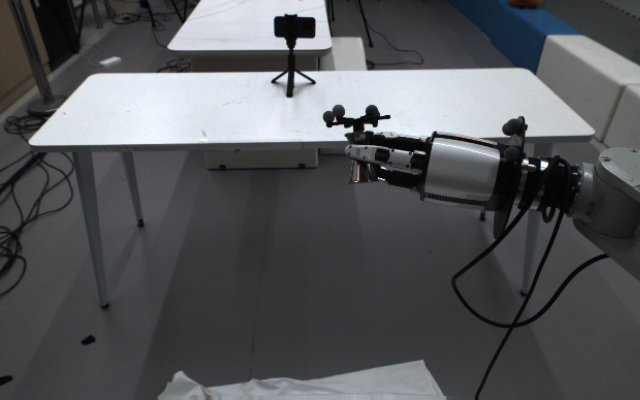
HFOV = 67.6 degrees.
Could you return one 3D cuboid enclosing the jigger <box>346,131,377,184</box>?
[{"bbox_3d":[0.055,-0.058,0.662,0.043,0.071,0.043,-4,1,0],"label":"jigger"}]
